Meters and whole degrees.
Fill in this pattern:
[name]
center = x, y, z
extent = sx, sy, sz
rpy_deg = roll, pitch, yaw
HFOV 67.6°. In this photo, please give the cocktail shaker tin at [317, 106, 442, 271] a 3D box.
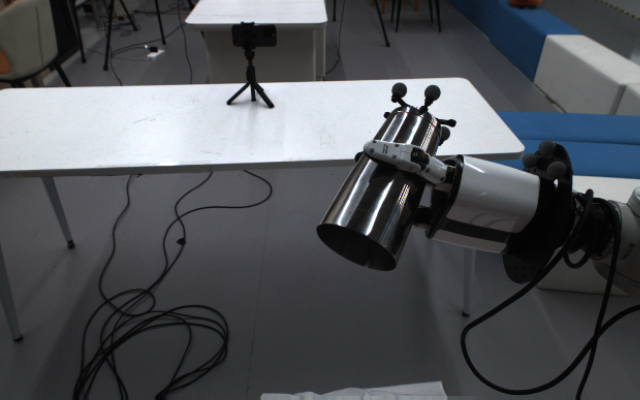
[cocktail shaker tin]
center = 0.077, -0.021, 0.532
extent = 0.093, 0.093, 0.170
rpy_deg = 18, 66, 21
